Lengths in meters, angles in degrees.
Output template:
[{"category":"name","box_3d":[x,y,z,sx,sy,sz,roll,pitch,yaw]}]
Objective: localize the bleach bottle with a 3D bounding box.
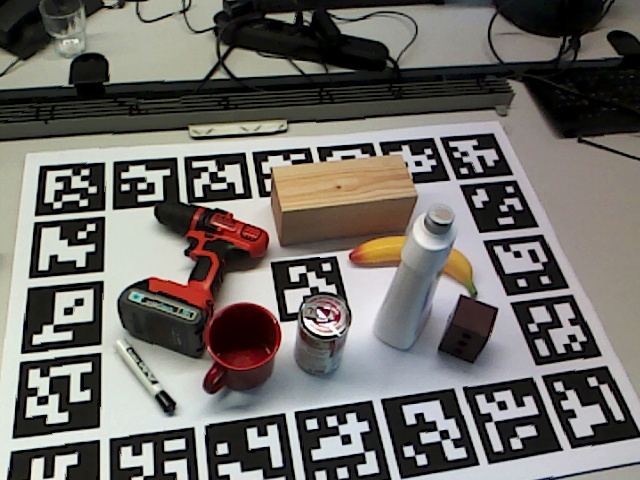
[{"category":"bleach bottle","box_3d":[0.120,0.043,0.788,0.068,0.250,0.102,18,52,8]}]

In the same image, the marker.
[{"category":"marker","box_3d":[-0.225,0.176,0.801,0.019,0.019,0.122,-33,63,-24]}]

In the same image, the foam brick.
[{"category":"foam brick","box_3d":[0.198,0.126,0.843,0.053,0.078,0.051,21,52,13]}]

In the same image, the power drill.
[{"category":"power drill","box_3d":[-0.183,0.042,0.887,0.185,0.057,0.187,20,52,5]}]

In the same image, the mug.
[{"category":"mug","box_3d":[-0.109,0.142,0.795,0.093,0.081,0.117,31,59,14]}]

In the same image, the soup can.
[{"category":"soup can","box_3d":[-0.002,0.120,0.803,0.068,0.102,0.068,4,48,-4]}]

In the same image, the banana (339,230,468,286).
[{"category":"banana","box_3d":[0.128,0.020,0.936,0.197,0.039,0.074,9,66,-2]}]

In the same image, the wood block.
[{"category":"wood block","box_3d":[0.034,-0.056,0.958,0.206,0.091,0.090,-6,55,-10]}]
